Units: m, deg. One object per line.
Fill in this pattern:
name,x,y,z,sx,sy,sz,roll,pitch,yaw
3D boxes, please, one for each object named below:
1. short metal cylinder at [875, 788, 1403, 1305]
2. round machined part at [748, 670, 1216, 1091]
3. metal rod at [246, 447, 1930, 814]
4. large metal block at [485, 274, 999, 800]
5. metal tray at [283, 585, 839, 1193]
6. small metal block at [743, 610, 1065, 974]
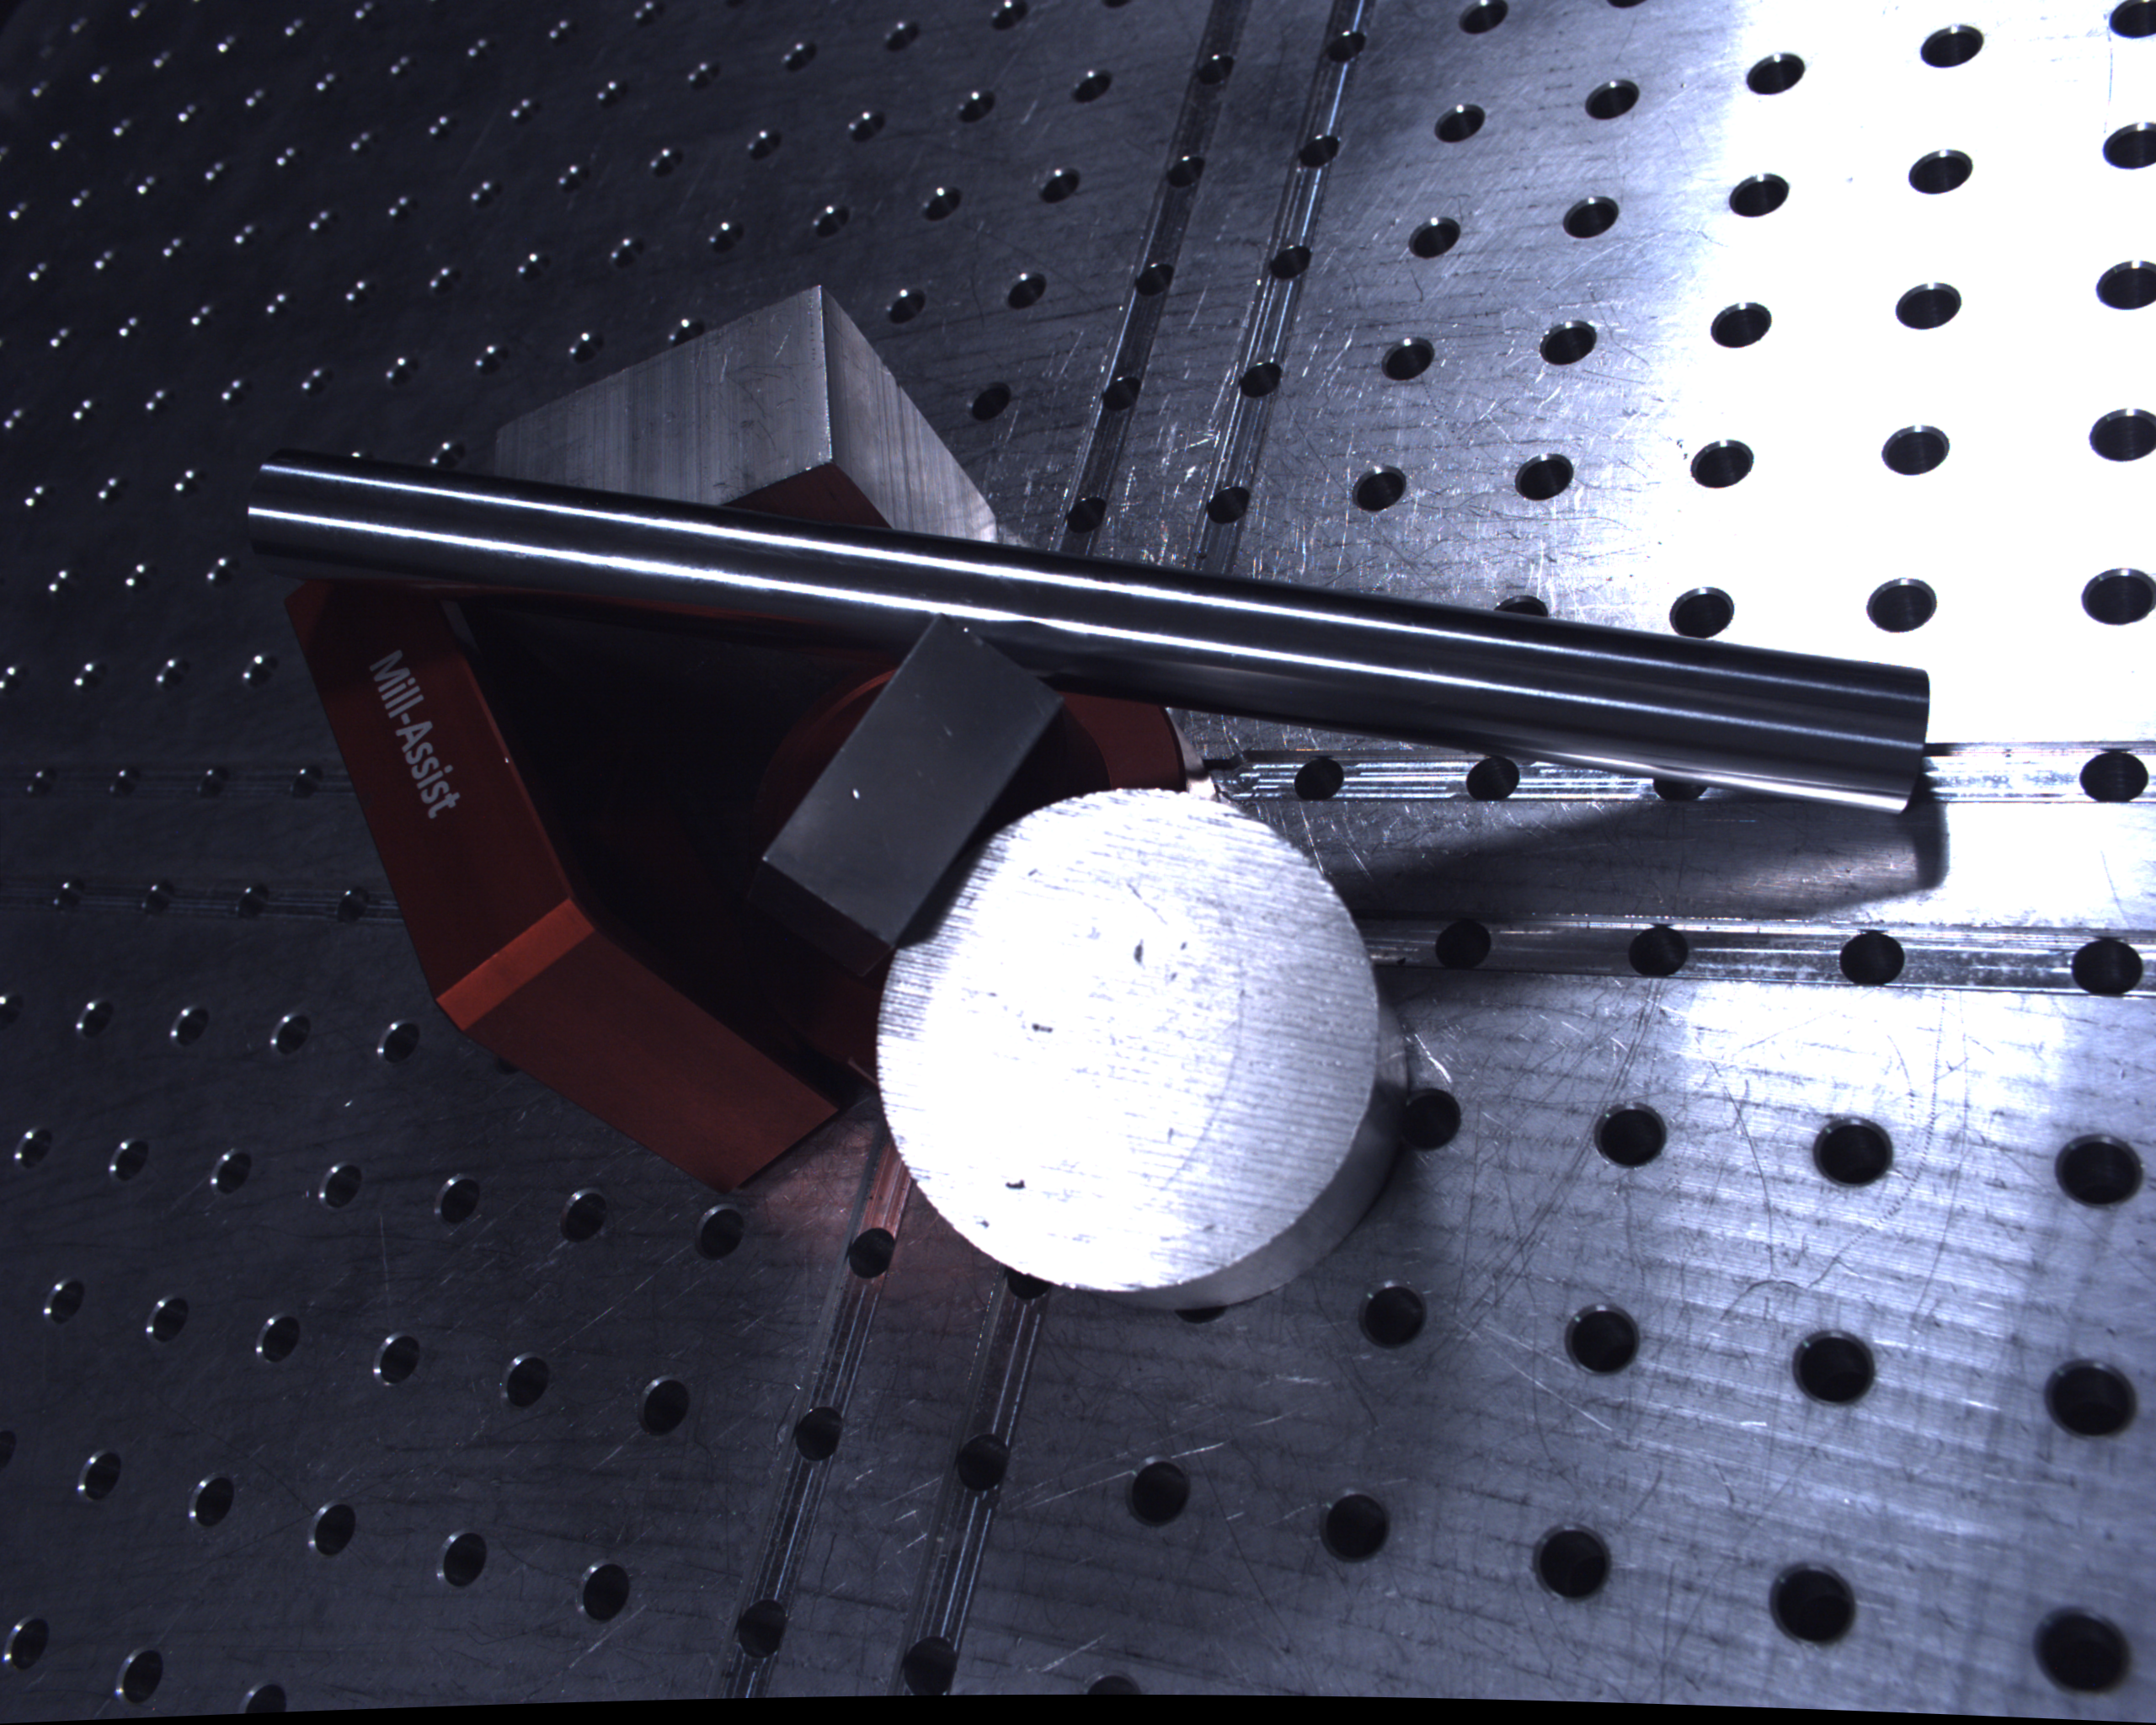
short metal cylinder,0.012,0.033,0.349,0.080,0.050,0.080,-3,74,12
round machined part,-0.024,-0.003,0.414,0.098,0.042,0.098,-13,56,20
metal rod,-0.007,-0.044,0.376,0.301,0.025,0.025,9,65,10
large metal block,-0.069,-0.066,0.446,0.080,0.080,0.050,-19,55,16
metal tray,-0.105,-0.003,0.421,0.030,0.090,0.130,-38,51,3
small metal block,-0.031,-0.010,0.357,0.025,0.050,0.050,35,76,-5
